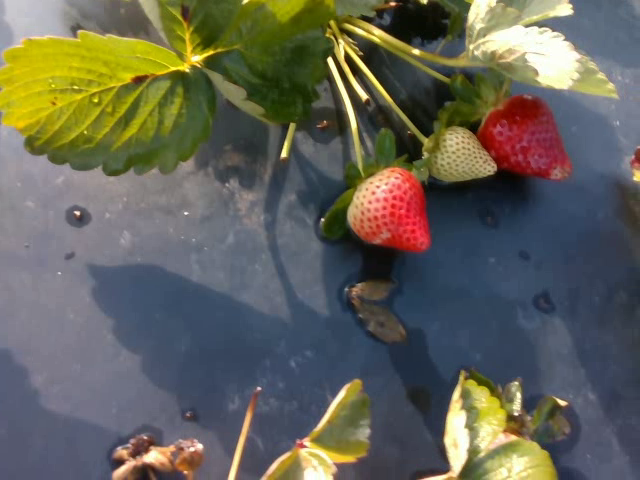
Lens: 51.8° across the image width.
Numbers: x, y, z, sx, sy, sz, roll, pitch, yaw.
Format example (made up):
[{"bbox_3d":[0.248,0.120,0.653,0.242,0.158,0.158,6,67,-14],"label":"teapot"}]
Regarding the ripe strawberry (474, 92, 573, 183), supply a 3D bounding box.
[{"bbox_3d":[0.117,-0.052,0.357,0.049,0.065,0.050,-41,1,19],"label":"ripe strawberry"}]
